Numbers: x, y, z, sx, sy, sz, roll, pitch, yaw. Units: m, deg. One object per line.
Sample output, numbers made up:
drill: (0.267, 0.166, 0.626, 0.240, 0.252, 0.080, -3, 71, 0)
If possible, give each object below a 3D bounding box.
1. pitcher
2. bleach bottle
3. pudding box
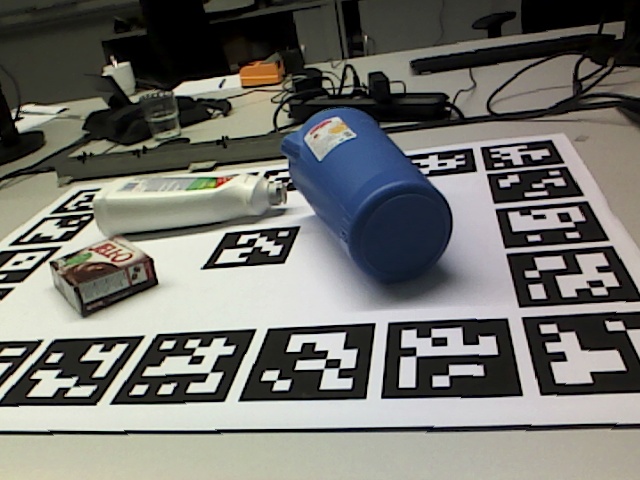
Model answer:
pitcher: (0.059, -0.039, 0.700, 0.188, 0.133, 0.244, 17, 22, -24)
bleach bottle: (-0.173, -0.058, 0.862, 0.251, 0.067, 0.103, -4, 31, 10)
pudding box: (-0.260, 0.034, 0.728, 0.089, 0.038, 0.114, -19, 28, -29)
